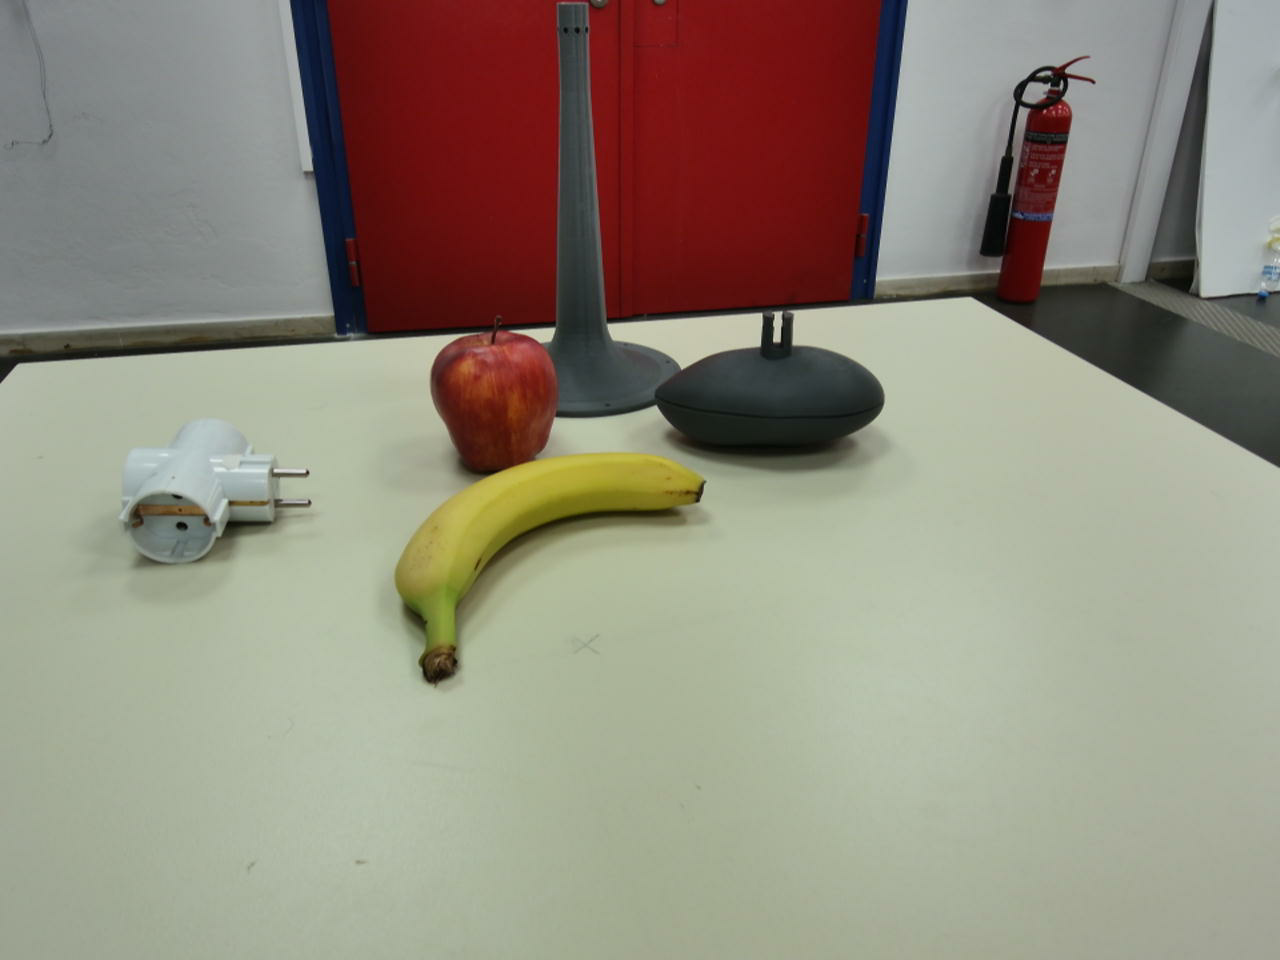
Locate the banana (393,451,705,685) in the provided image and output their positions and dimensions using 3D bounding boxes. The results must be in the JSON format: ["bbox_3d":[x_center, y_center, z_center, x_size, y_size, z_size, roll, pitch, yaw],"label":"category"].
[{"bbox_3d":[-0.058,0.026,0.515,0.094,0.041,0.196,21,32,36],"label":"banana"}]
